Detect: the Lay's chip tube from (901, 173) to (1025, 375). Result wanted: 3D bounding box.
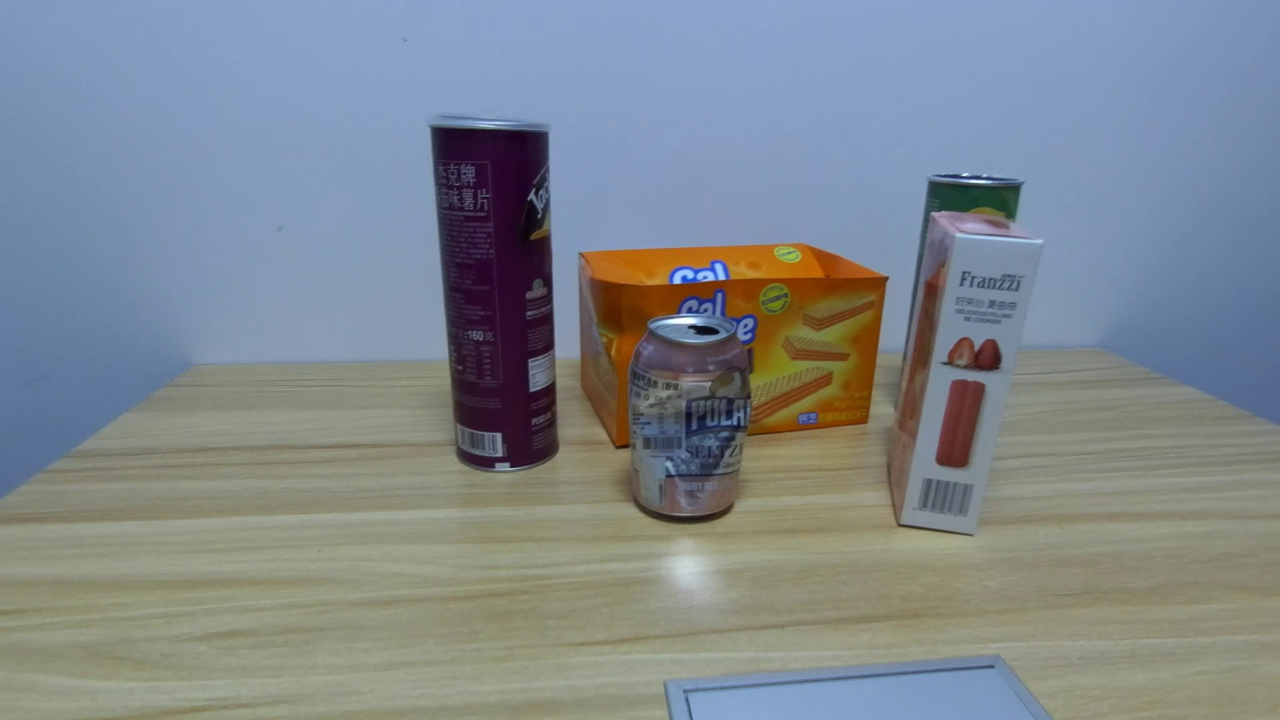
[{"bbox_3d":[0.256,-0.046,0.576,0.071,0.202,0.071,2,19,0],"label":"Lay's chip tube"}]

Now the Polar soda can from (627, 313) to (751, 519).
[{"bbox_3d":[0.032,0.037,0.443,0.074,0.122,0.067,10,22,25],"label":"Polar soda can"}]

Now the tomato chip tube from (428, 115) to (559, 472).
[{"bbox_3d":[-0.098,-0.042,0.494,0.078,0.234,0.078,1,18,0],"label":"tomato chip tube"}]

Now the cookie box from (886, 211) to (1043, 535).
[{"bbox_3d":[0.199,0.007,0.448,0.048,0.184,0.096,7,20,12],"label":"cookie box"}]

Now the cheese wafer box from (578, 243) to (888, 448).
[{"bbox_3d":[0.066,-0.019,0.598,0.231,0.132,0.151,-3,21,-16],"label":"cheese wafer box"}]
